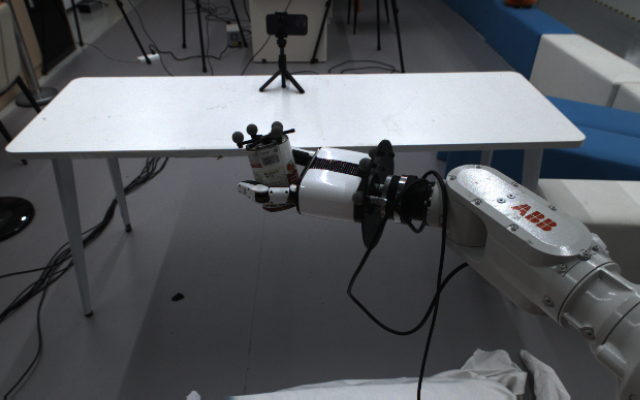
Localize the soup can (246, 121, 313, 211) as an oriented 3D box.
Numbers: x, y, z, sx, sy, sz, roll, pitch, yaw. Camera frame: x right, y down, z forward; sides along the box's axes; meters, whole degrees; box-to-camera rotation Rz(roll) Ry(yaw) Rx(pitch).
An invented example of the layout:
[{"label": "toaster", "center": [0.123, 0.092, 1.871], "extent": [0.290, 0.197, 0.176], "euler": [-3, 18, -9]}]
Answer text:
[{"label": "soup can", "center": [-0.067, -0.041, 0.731], "extent": [0.067, 0.101, 0.067], "euler": [-13, 20, 5]}]
